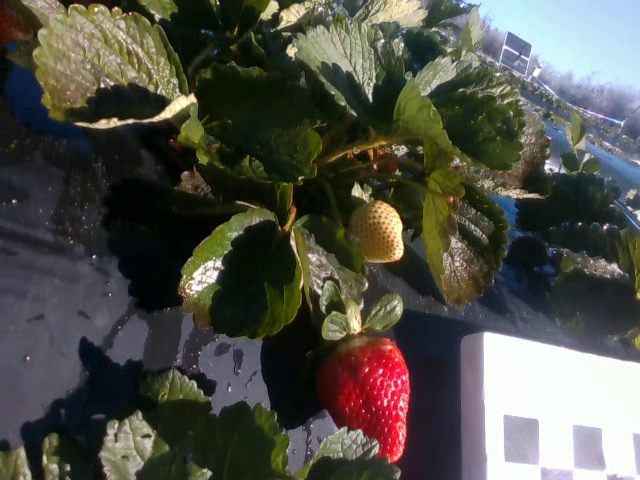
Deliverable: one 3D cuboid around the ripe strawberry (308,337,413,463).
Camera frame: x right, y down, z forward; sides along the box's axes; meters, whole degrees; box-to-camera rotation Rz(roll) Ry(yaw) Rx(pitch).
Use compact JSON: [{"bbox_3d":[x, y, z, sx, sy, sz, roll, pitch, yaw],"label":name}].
[{"bbox_3d":[0.025,0.077,0.305,0.048,0.068,0.040,-5,-20,-28],"label":"ripe strawberry"}]
